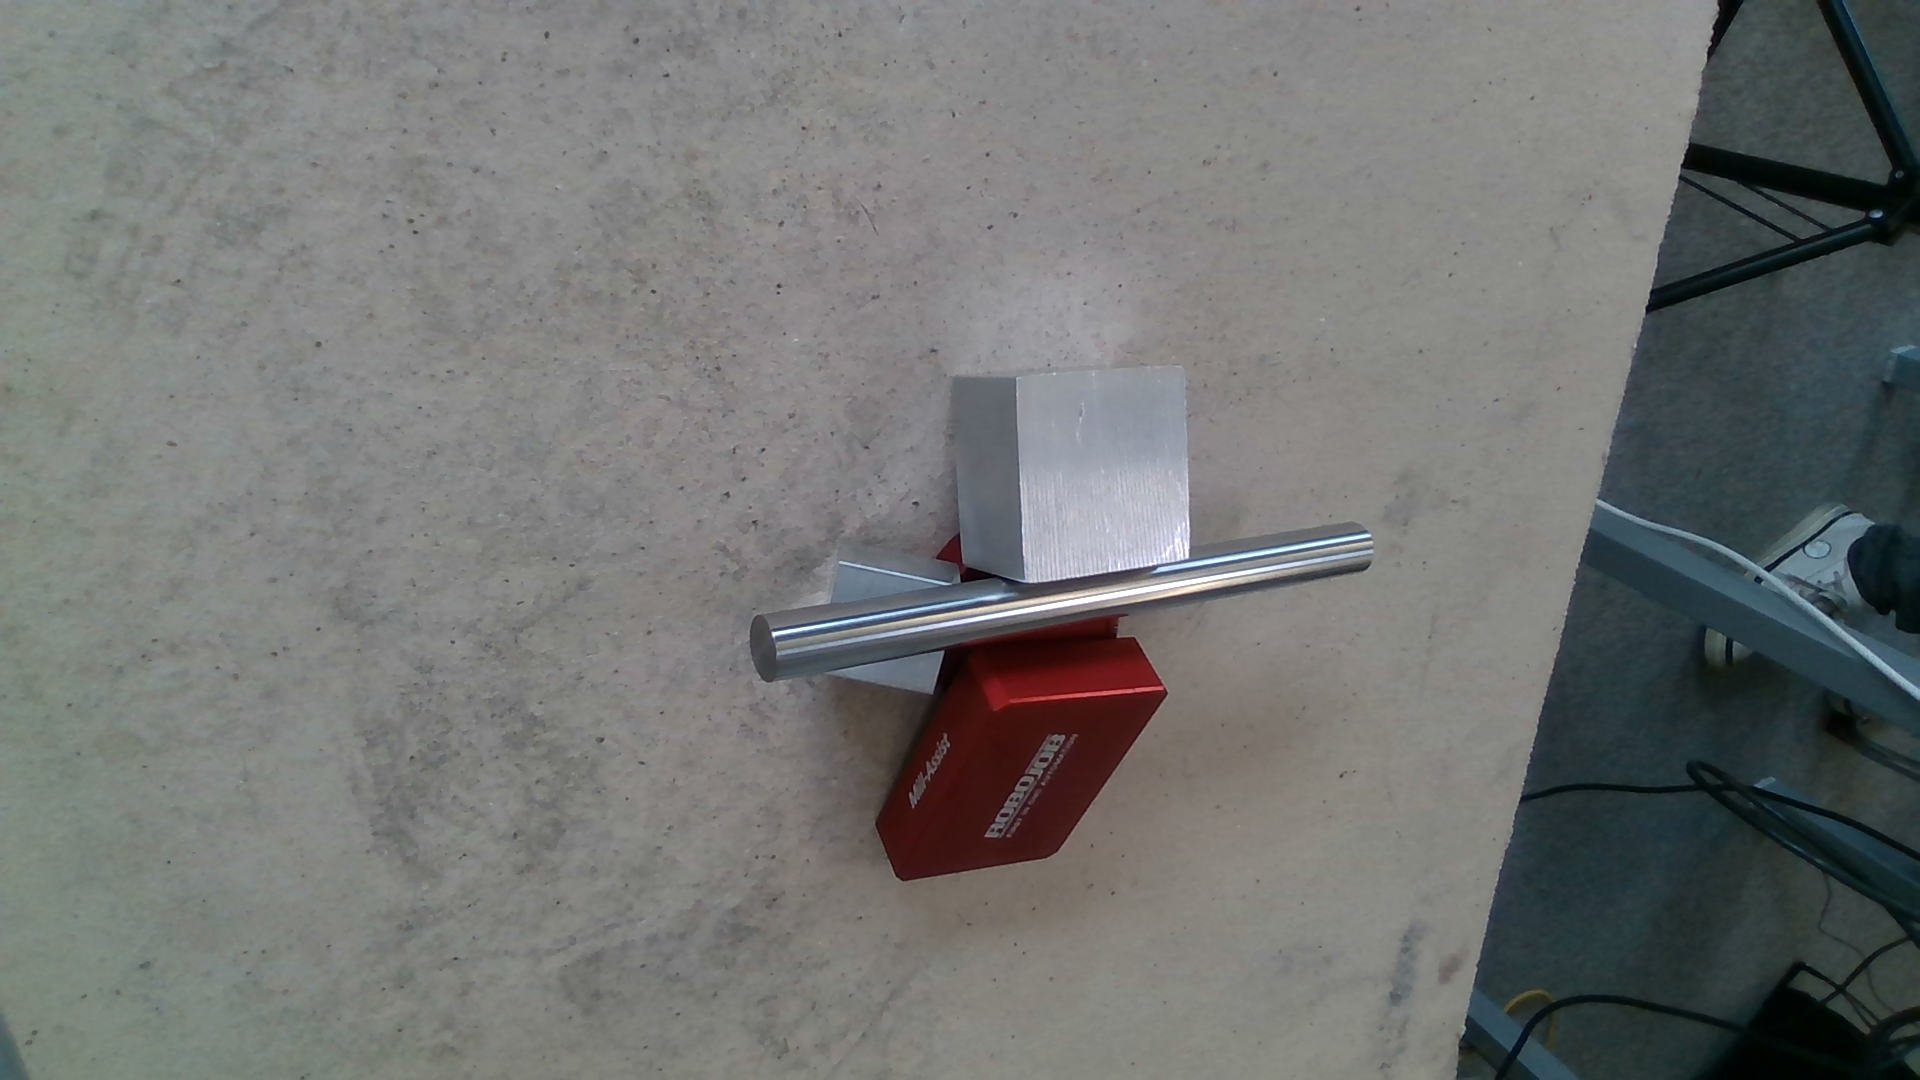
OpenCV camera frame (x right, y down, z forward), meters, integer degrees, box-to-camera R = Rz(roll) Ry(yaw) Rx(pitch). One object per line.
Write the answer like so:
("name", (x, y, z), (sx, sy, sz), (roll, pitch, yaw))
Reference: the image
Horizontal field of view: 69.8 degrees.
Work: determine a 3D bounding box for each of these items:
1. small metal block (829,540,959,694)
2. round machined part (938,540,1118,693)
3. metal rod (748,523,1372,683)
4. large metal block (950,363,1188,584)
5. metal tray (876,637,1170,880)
("small metal block", (-0.031, 0.031, 0.567), (0.050, 0.025, 0.050), (11, 110, -8))
("round machined part", (0.030, 0.037, 0.609), (0.098, 0.042, 0.098), (-14, 122, -25))
("metal rod", (0.056, 0.021, 0.573), (0.300, 0.025, 0.025), (-8, 119, -30))
("large metal block", (0.045, -0.030, 0.562), (0.080, 0.050, 0.080), (-8, 100, -28))
("metal tray", (0.026, 0.099, 0.619), (0.090, 0.030, 0.130), (-1, 135, -30))
